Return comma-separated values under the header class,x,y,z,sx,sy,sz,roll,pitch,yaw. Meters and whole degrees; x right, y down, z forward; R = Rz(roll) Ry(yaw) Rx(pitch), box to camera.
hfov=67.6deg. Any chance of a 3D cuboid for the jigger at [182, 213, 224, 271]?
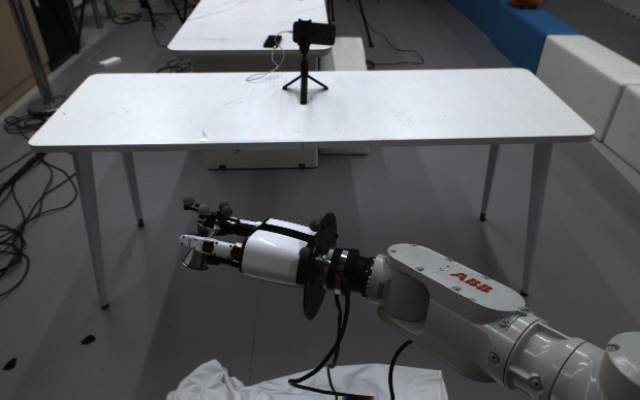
class,x,y,z,sx,sy,sz,roll,pitch,yaw
jigger,-0.183,0.068,0.742,0.043,0.071,0.043,21,6,-2
